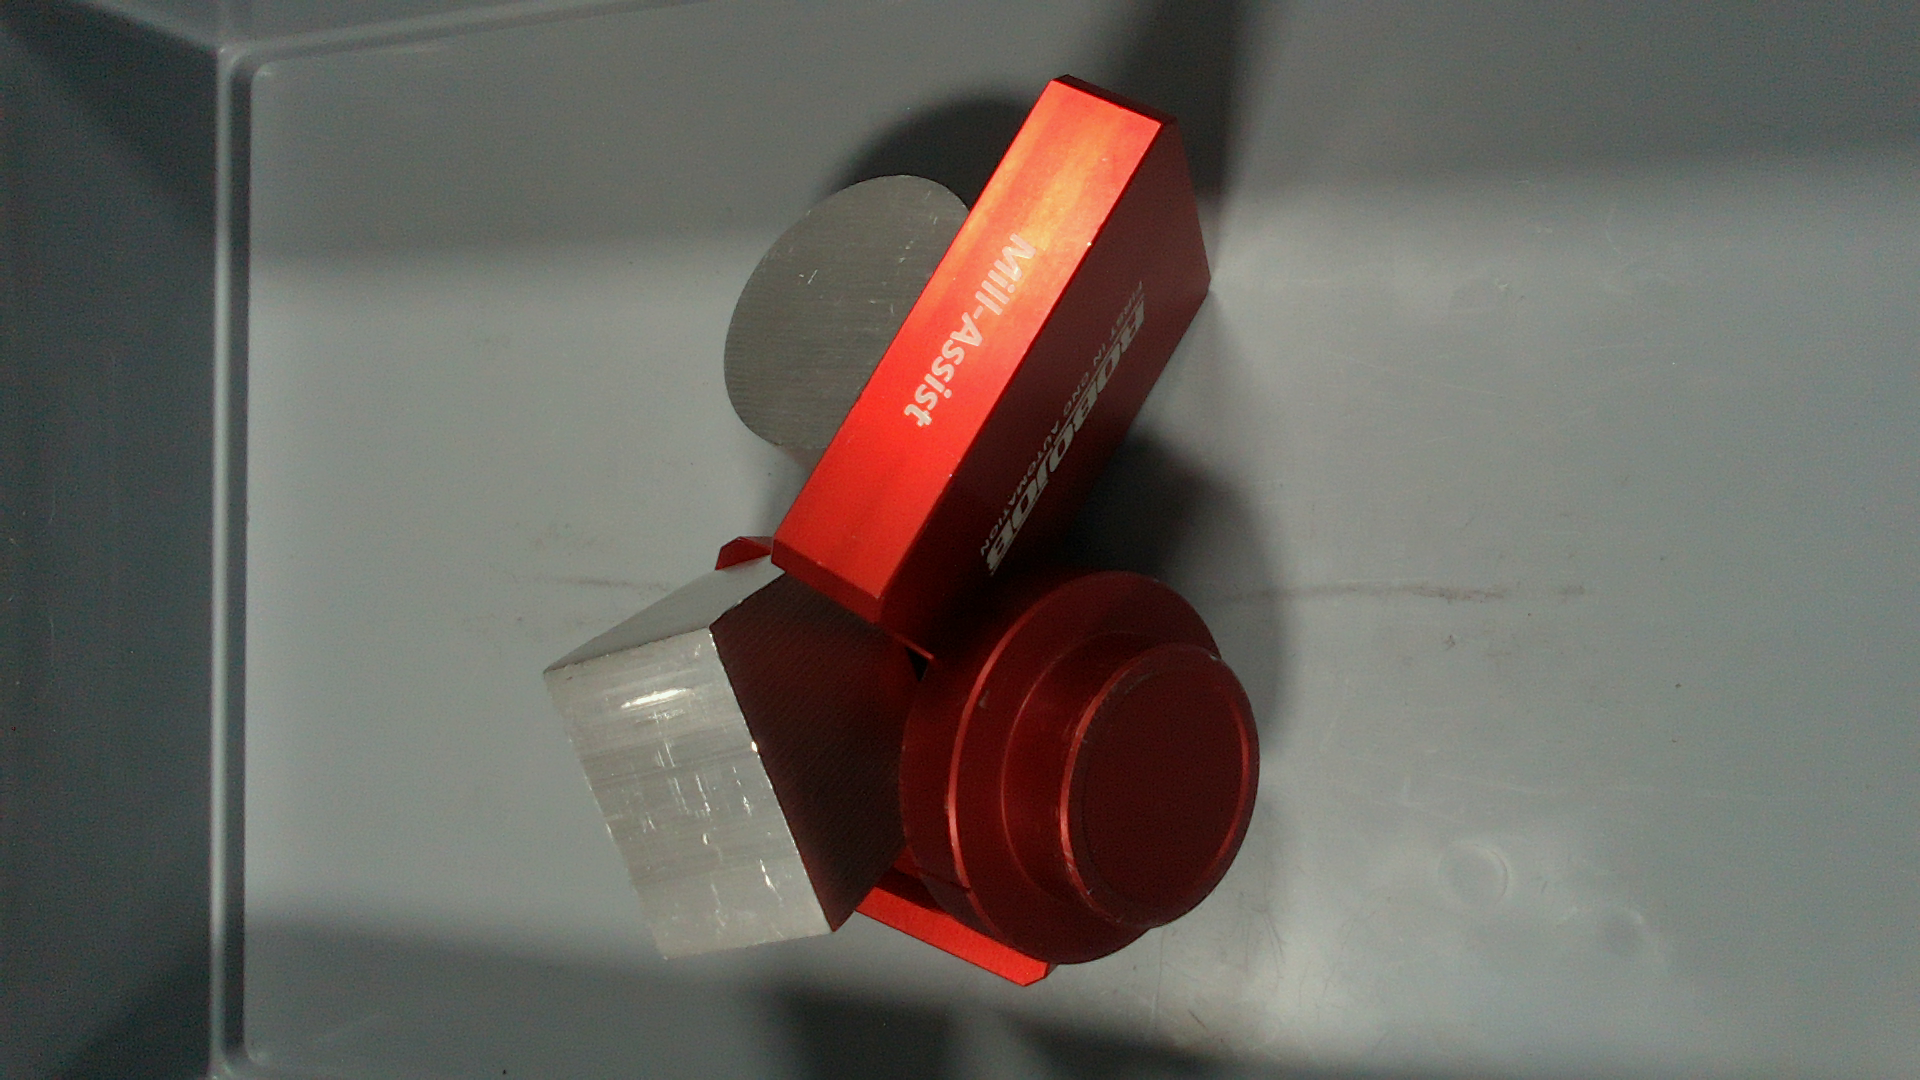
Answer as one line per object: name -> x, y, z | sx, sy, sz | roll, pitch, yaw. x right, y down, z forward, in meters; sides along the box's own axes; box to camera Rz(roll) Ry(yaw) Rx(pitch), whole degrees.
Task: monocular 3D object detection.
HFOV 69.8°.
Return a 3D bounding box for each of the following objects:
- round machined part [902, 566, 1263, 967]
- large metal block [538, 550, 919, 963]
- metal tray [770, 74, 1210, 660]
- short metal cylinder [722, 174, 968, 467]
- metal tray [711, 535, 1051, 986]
round machined part -> 0.037, 0.057, 0.339 | 0.042, 0.098, 0.098 | 8, 93, 50
large metal block -> -0.051, 0.050, 0.359 | 0.050, 0.080, 0.080 | -16, 101, 25
metal tray -> 0.014, -0.034, 0.339 | 0.030, 0.090, 0.130 | 28, 84, 21
short metal cylinder -> -0.017, -0.050, 0.372 | 0.080, 0.050, 0.080 | -14, 61, 26
metal tray -> -0.019, 0.059, 0.398 | 0.130, 0.030, 0.090 | 18, 96, 19
